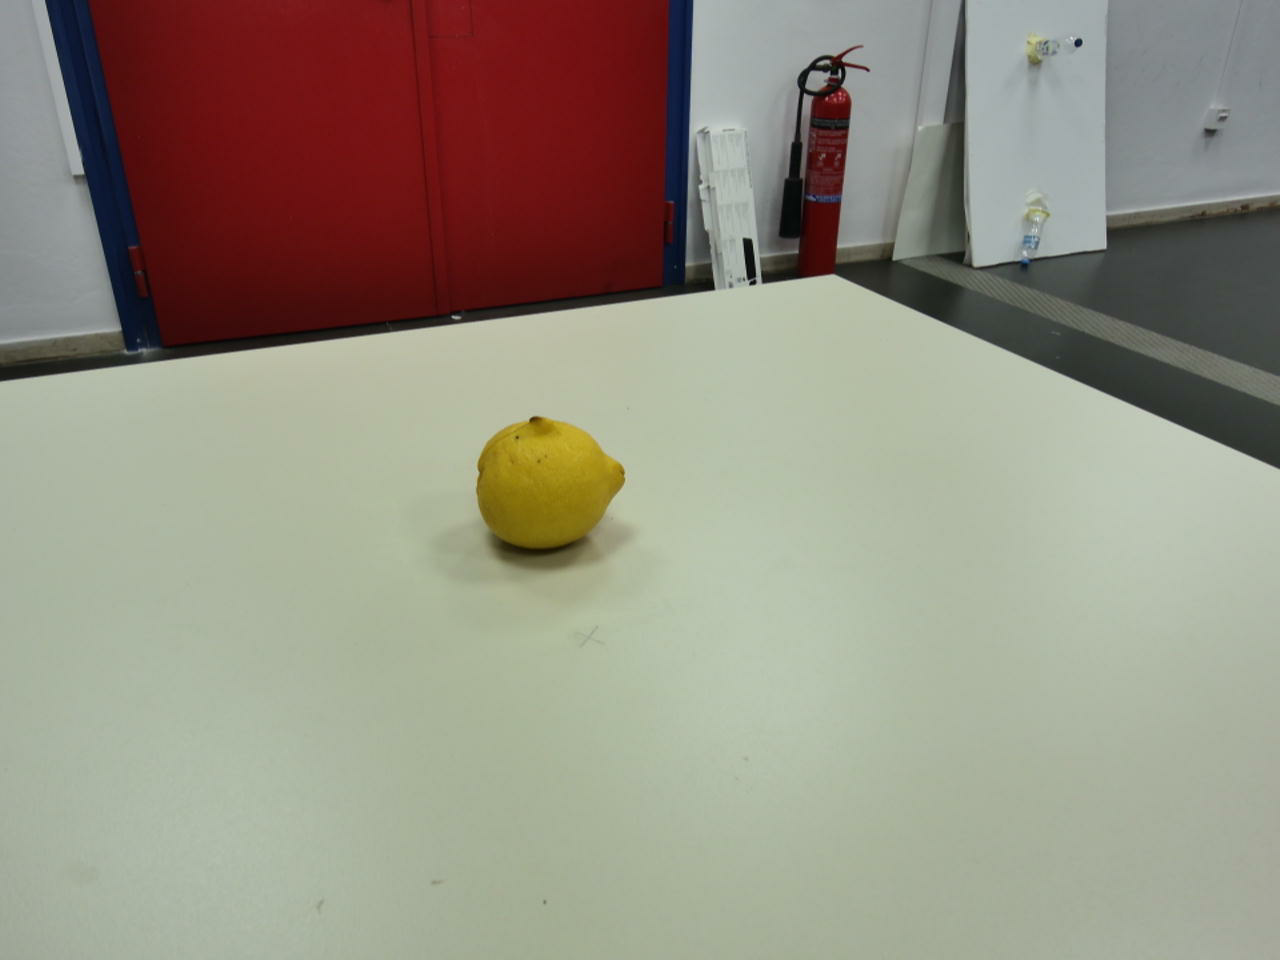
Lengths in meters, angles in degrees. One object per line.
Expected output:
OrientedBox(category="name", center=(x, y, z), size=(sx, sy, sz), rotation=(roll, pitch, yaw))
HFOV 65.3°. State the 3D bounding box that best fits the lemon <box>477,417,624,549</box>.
OrientedBox(category="lemon", center=(-0.051, -0.002, 0.517), size=(0.071, 0.071, 0.070), rotation=(15, 29, 27))
